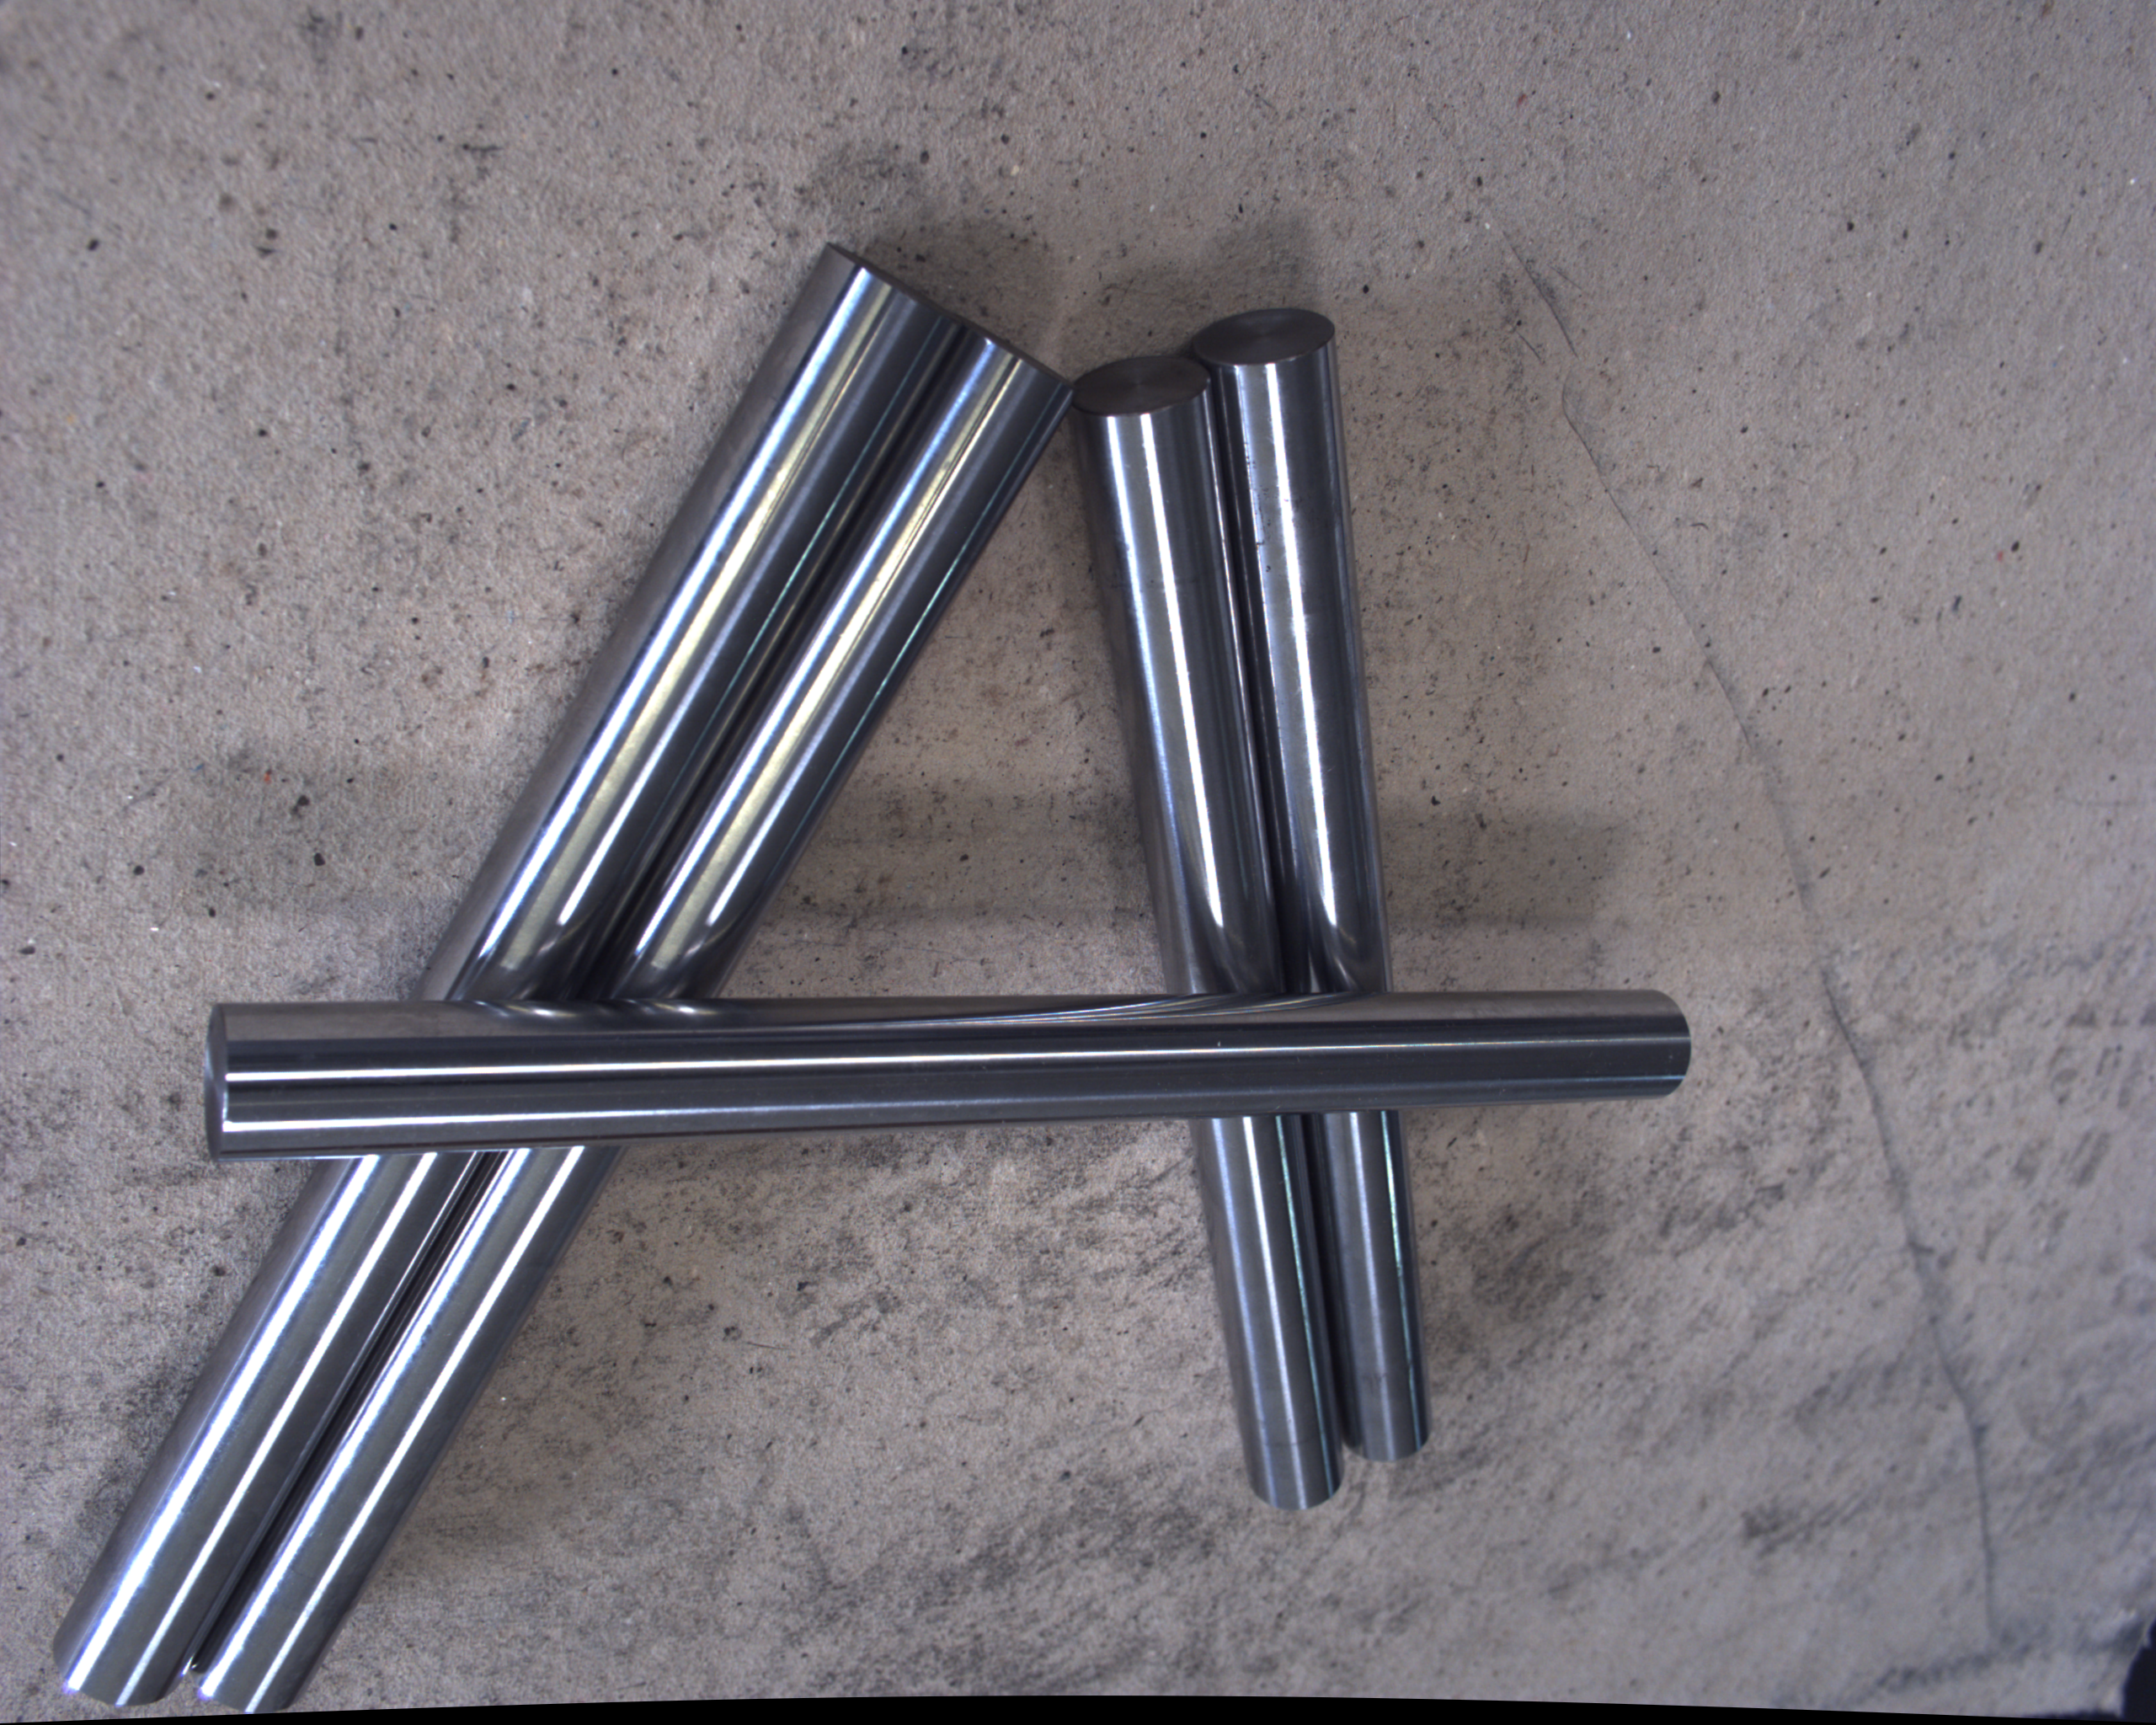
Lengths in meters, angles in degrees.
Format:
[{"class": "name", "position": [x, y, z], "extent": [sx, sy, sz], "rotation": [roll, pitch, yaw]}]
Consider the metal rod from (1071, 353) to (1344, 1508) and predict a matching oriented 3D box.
[{"class": "metal rod", "position": [0.033, 0.036, 0.449], "extent": [0.025, 0.025, 0.298], "rotation": [-22, 127, -15]}]

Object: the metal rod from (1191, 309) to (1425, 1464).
[{"class": "metal rod", "position": [0.055, 0.026, 0.455], "extent": [0.025, 0.025, 0.298], "rotation": [-22, 127, -15]}]

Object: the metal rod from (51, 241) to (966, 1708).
[{"class": "metal rod", "position": [-0.107, 0.030, 0.368], "extent": [0.025, 0.025, 0.299], "rotation": [23, 106, -37]}]

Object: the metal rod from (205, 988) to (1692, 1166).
[{"class": "metal rod", "position": [-0.002, 0.038, 0.398], "extent": [0.303, 0.025, 0.025], "rotation": [1, 118, -29]}]

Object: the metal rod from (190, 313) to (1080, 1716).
[{"class": "metal rod", "position": [-0.088, 0.037, 0.383], "extent": [0.025, 0.025, 0.299], "rotation": [22, 106, -36]}]
